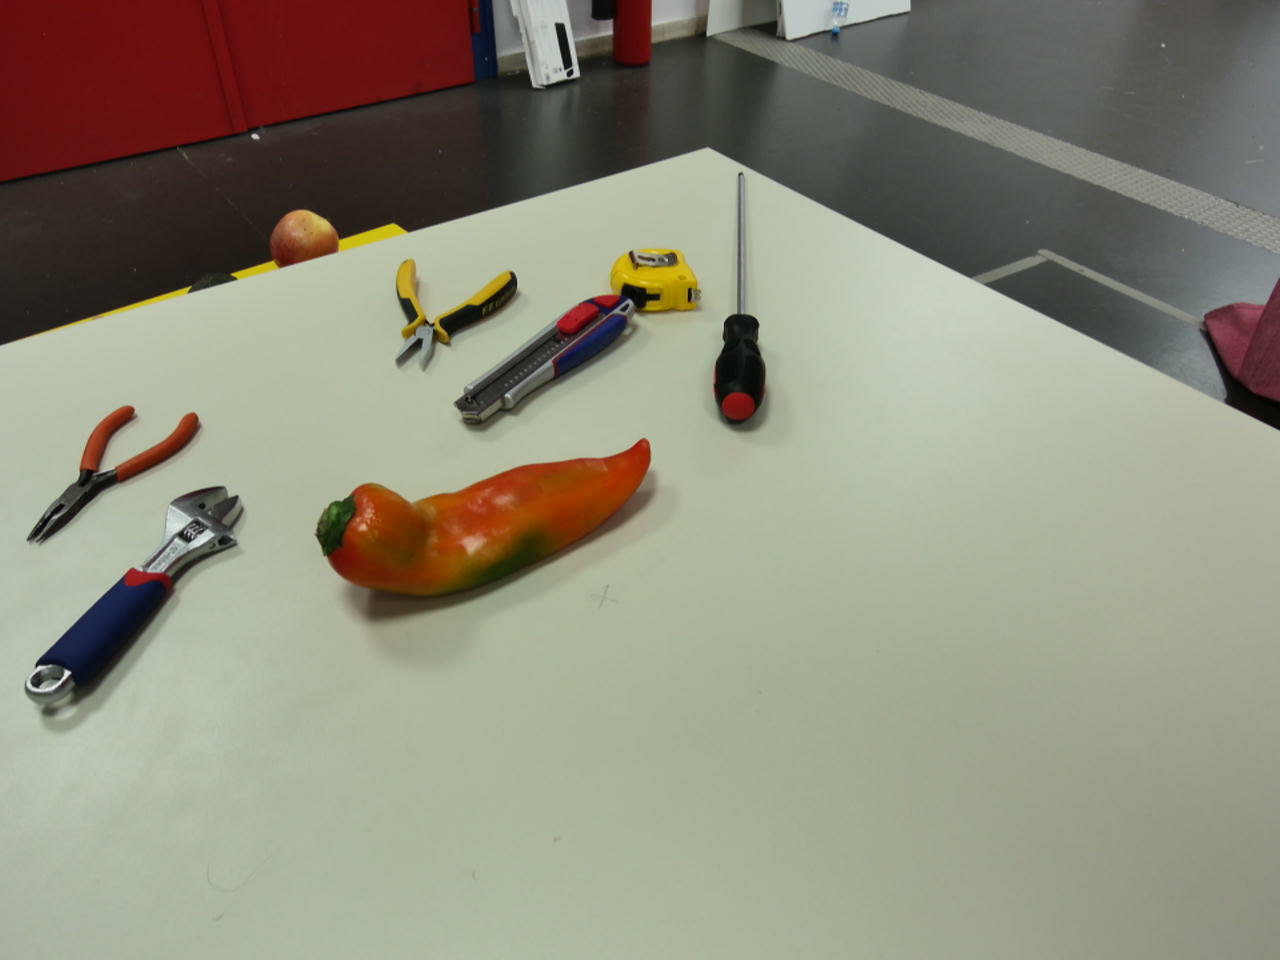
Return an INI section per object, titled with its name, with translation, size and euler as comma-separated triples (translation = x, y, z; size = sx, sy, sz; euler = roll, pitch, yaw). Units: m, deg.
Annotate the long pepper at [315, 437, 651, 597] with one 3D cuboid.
[long pepper]
translation = -0.075, 0.010, 0.545
size = 0.199, 0.065, 0.066
euler = -21, 43, -25
